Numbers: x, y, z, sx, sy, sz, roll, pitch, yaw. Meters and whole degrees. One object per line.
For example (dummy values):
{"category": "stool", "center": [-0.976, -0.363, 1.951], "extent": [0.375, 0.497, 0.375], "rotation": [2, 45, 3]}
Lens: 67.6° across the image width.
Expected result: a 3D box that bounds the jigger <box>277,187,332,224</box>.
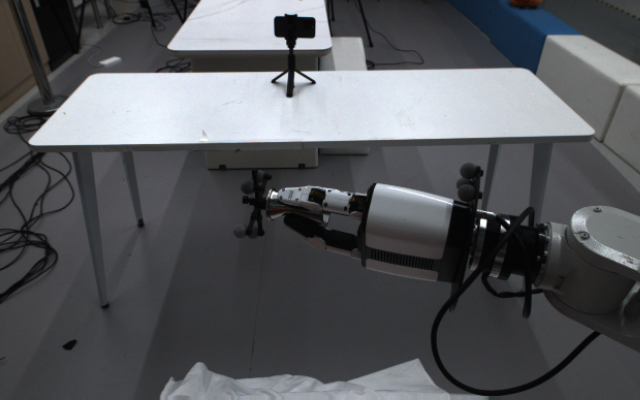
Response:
{"category": "jigger", "center": [-0.018, 0.004, 0.567], "extent": [0.071, 0.043, 0.043], "rotation": [4, 34, 13]}
